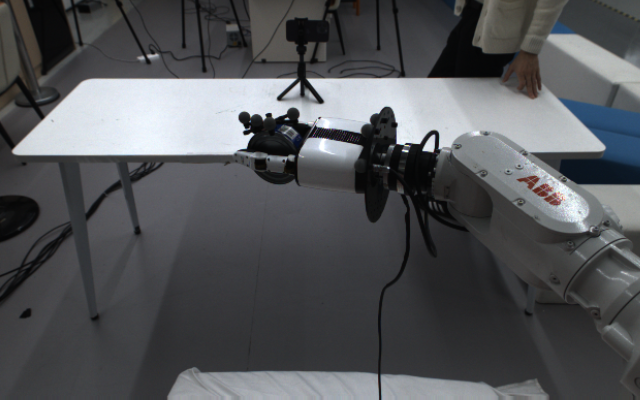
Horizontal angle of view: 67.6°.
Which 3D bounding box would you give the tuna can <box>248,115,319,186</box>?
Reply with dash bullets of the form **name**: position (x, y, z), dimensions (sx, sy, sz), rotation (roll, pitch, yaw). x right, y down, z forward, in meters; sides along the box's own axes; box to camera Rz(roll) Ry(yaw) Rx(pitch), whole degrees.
- **tuna can**: position (-0.060, -0.067, 0.709), dimensions (0.085, 0.085, 0.034), rotation (14, 34, 17)
